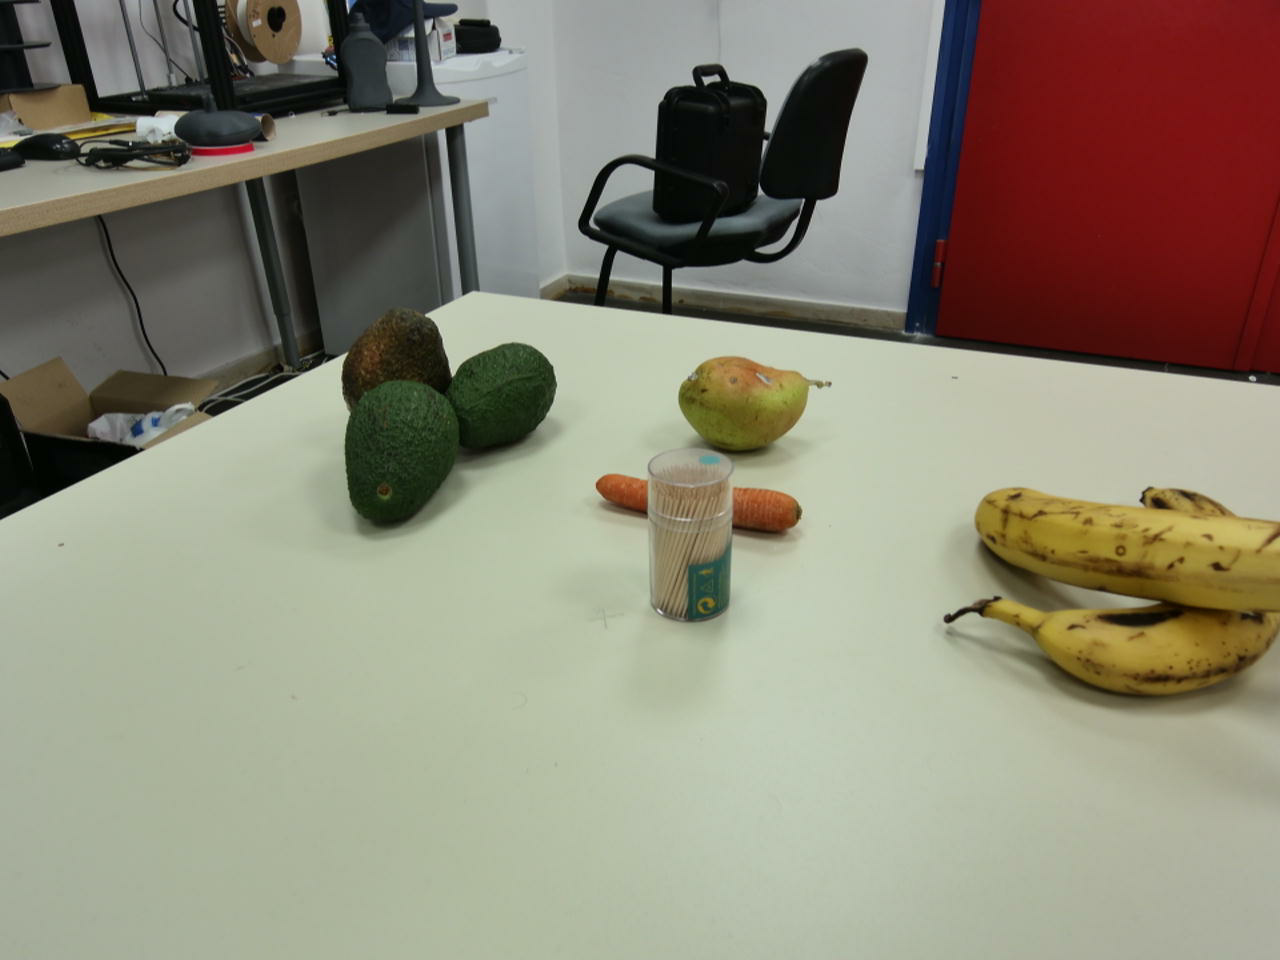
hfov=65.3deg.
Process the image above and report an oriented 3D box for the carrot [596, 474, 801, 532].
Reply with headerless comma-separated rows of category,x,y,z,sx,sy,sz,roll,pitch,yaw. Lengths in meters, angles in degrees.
carrot,0.031,0.011,0.568,0.122,0.023,0.024,9,27,20
